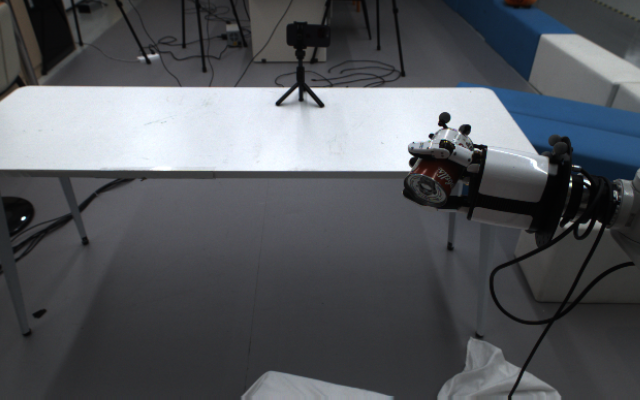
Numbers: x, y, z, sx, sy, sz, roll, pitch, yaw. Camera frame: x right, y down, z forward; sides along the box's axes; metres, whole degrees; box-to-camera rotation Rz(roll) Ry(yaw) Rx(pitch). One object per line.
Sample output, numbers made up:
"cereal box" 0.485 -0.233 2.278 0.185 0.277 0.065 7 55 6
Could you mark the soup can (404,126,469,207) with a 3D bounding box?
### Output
"soup can" 0.178 -0.051 0.713 0.067 0.067 0.101 22 61 27
